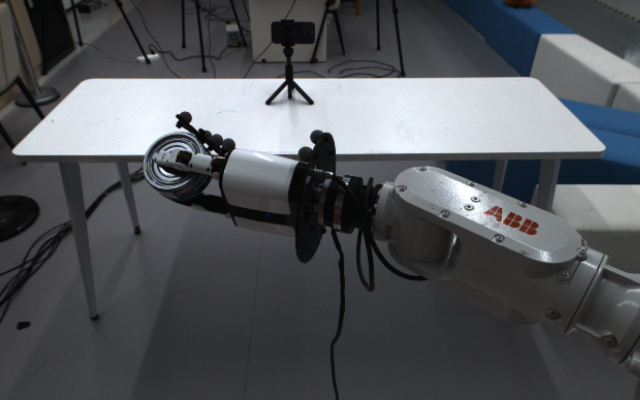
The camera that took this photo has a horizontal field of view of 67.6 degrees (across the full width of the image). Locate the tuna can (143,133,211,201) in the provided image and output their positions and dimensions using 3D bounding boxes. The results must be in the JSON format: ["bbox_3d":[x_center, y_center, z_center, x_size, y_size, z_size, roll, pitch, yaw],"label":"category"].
[{"bbox_3d":[-0.183,-0.044,0.627,0.085,0.034,0.085,-4,69,9],"label":"tuna can"}]
